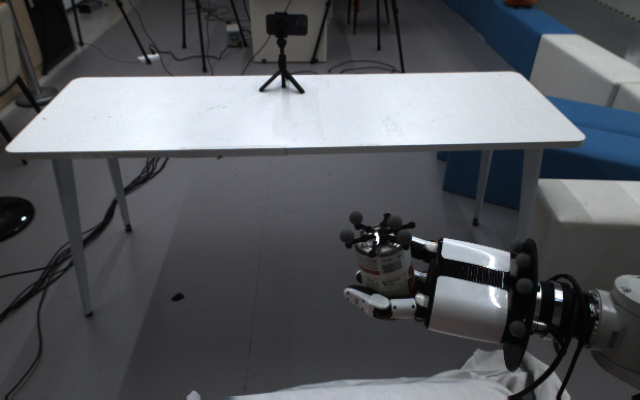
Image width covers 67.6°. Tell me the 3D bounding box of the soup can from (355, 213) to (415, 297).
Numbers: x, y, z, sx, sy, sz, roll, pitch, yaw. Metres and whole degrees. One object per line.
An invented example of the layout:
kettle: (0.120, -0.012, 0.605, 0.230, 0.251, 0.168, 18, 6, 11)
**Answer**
soup can: (0.085, 0.089, 0.604, 0.067, 0.101, 0.067, -11, 27, 6)
